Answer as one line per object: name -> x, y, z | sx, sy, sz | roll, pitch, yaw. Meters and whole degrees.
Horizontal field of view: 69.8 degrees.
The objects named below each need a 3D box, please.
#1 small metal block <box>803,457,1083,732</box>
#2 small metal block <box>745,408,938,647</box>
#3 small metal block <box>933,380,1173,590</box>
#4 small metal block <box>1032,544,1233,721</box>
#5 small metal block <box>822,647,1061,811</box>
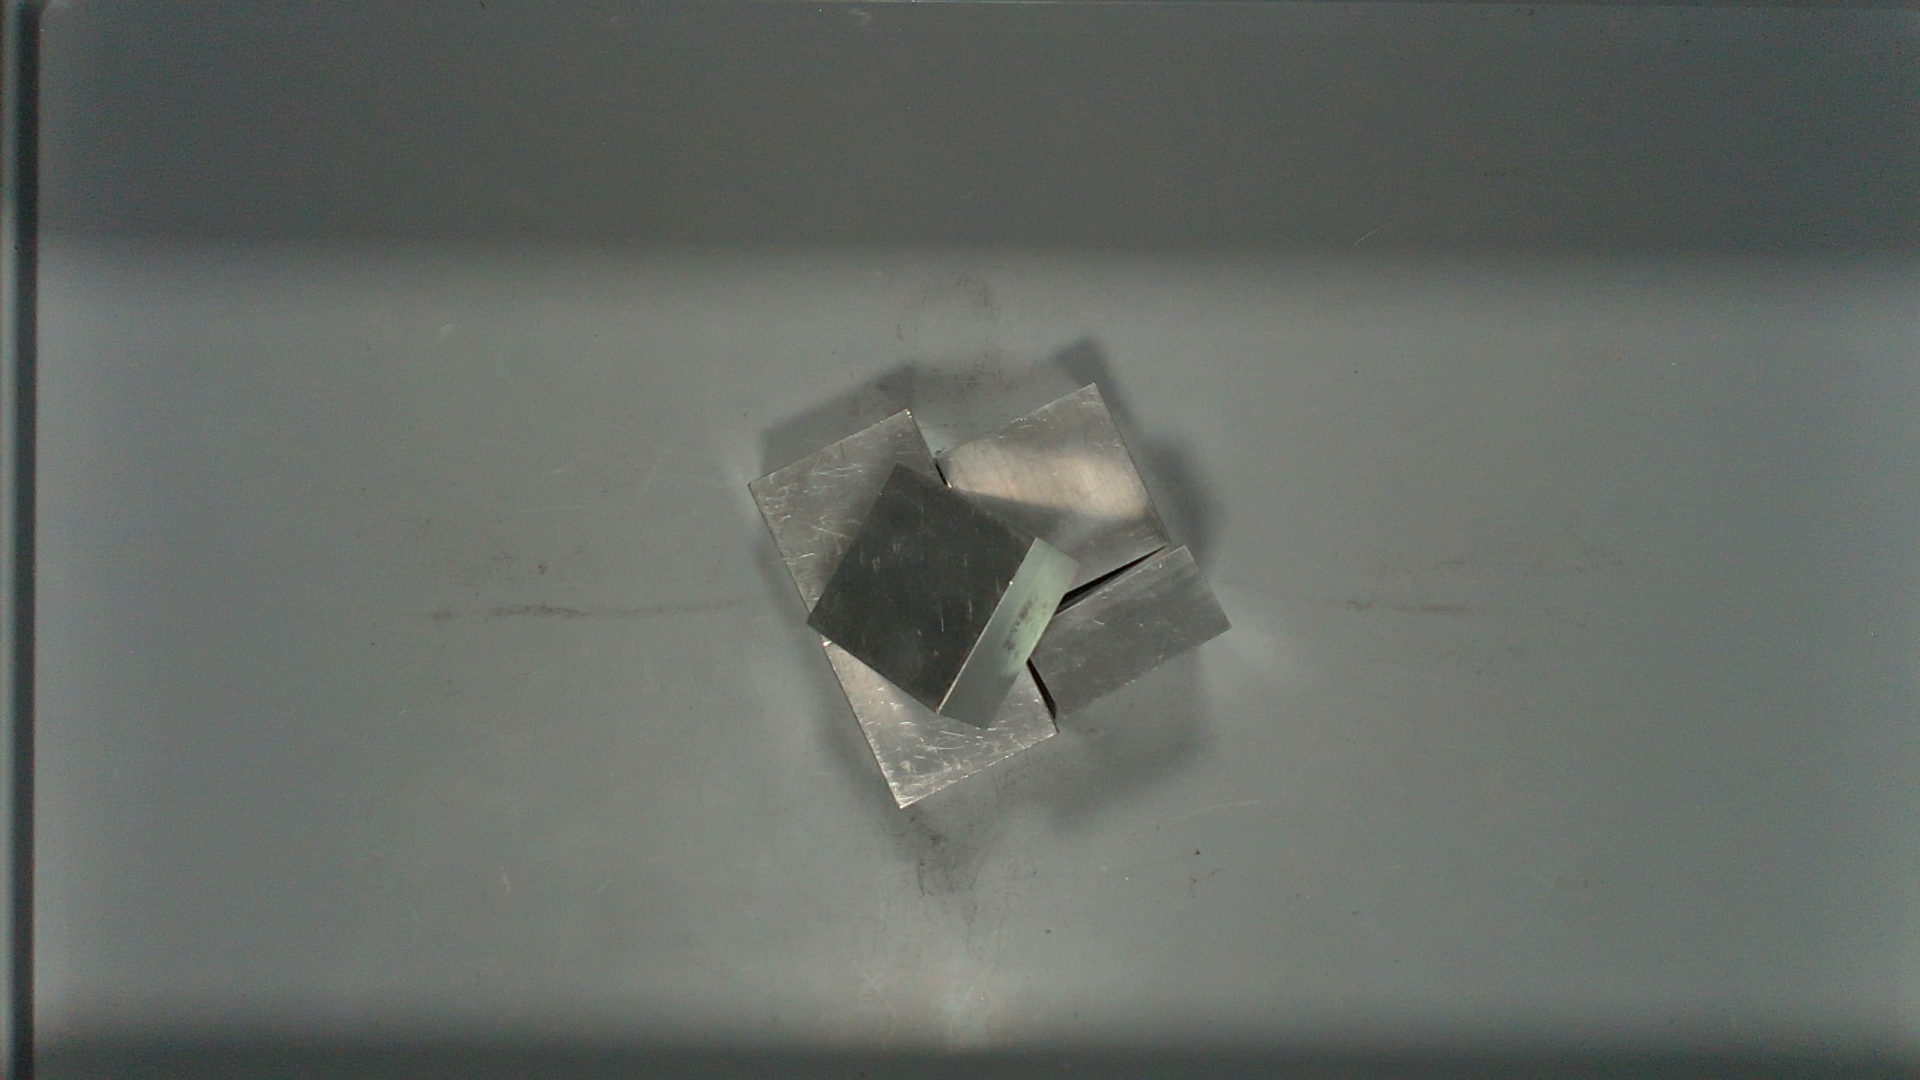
small metal block -> -0.005, 0.014, 0.357 | 0.050, 0.025, 0.050 | 30, 90, 34
small metal block -> -0.026, -0.004, 0.394 | 0.050, 0.025, 0.050 | -25, 90, 0
small metal block -> 0.026, -0.011, 0.394 | 0.050, 0.025, 0.050 | -25, 90, 0
small metal block -> 0.043, 0.024, 0.382 | 0.050, 0.050, 0.025 | -29, 90, -1
small metal block -> -0.005, 0.042, 0.394 | 0.050, 0.025, 0.050 | -25, 90, 0
